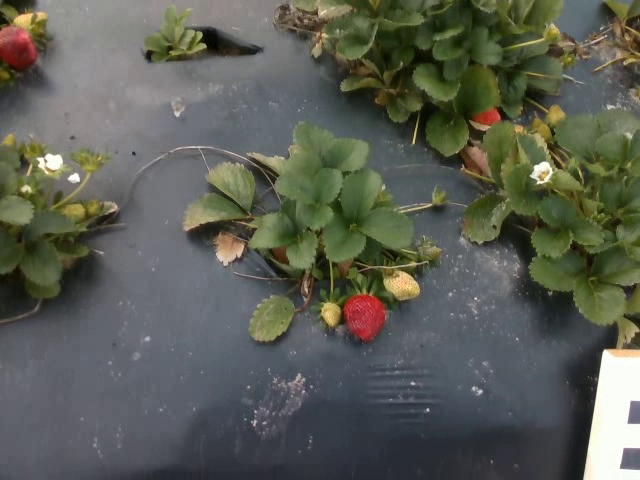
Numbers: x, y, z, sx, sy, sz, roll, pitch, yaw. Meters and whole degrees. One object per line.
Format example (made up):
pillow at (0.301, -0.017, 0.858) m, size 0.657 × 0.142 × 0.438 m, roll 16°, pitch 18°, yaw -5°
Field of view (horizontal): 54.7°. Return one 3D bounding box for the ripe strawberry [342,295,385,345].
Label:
ripe strawberry at (0.044, 0.080, 0.591) m, size 0.046 × 0.046 × 0.059 m, roll -3°, pitch 32°, yaw 4°
